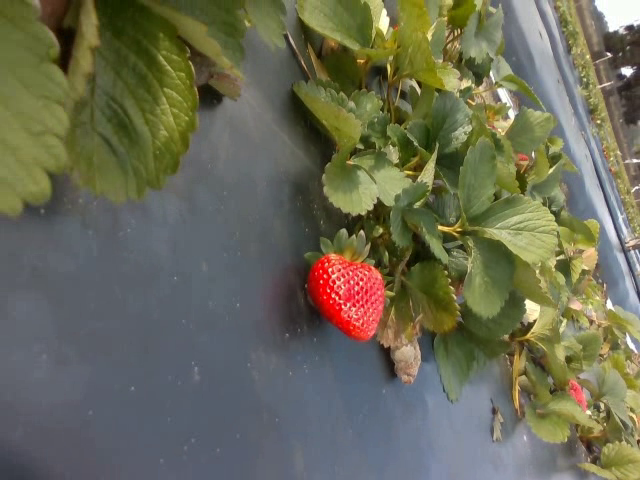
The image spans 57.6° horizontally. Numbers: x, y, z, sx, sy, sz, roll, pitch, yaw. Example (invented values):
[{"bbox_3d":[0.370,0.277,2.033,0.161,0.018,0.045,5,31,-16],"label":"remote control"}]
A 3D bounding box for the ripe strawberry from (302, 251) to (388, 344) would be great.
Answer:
[{"bbox_3d":[0.015,0.030,0.287,0.050,0.058,0.046,-23,-49,12],"label":"ripe strawberry"}]
